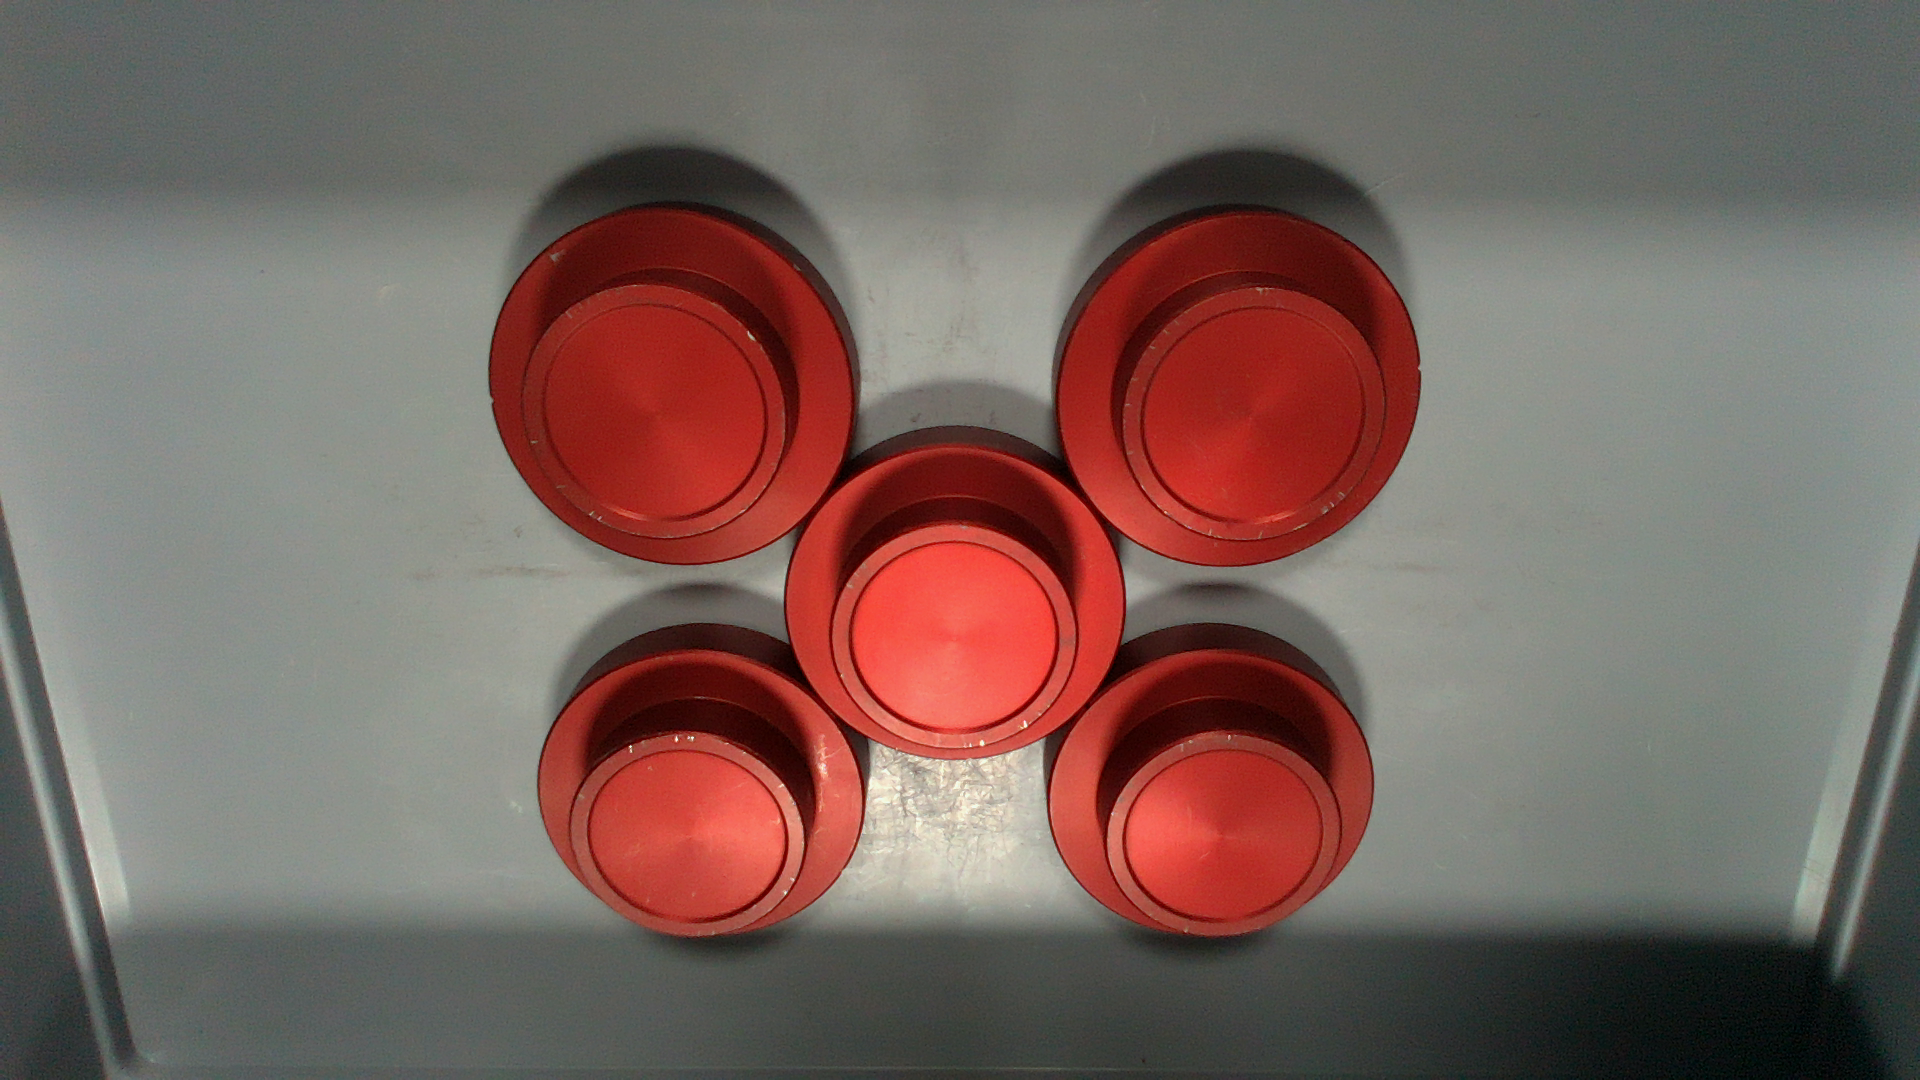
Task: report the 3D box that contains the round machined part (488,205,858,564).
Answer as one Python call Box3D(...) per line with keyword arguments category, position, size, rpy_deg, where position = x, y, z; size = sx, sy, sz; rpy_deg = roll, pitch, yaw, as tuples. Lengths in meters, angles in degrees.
Box3D(category="round machined part", position=(-0.078, -0.039, 0.369), size=(0.098, 0.042, 0.098), rpy_deg=(0, 110, 0))

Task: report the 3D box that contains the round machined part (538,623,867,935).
Box3D(category="round machined part", position=(-0.078, 0.078, 0.412), size=(0.098, 0.042, 0.098), rpy_deg=(0, 110, 0))

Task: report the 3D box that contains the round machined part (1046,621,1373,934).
Box3D(category="round machined part", position=(0.075, 0.077, 0.413), size=(0.098, 0.042, 0.098), rpy_deg=(0, 110, 0))

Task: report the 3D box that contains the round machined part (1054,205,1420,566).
Box3D(category="round machined part", position=(0.075, -0.038, 0.370), size=(0.098, 0.042, 0.098), rpy_deg=(0, 110, 0))

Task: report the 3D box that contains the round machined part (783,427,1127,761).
Box3D(category="round machined part", position=(-0.001, 0.020, 0.390), size=(0.098, 0.042, 0.098), rpy_deg=(0, 110, 0))
